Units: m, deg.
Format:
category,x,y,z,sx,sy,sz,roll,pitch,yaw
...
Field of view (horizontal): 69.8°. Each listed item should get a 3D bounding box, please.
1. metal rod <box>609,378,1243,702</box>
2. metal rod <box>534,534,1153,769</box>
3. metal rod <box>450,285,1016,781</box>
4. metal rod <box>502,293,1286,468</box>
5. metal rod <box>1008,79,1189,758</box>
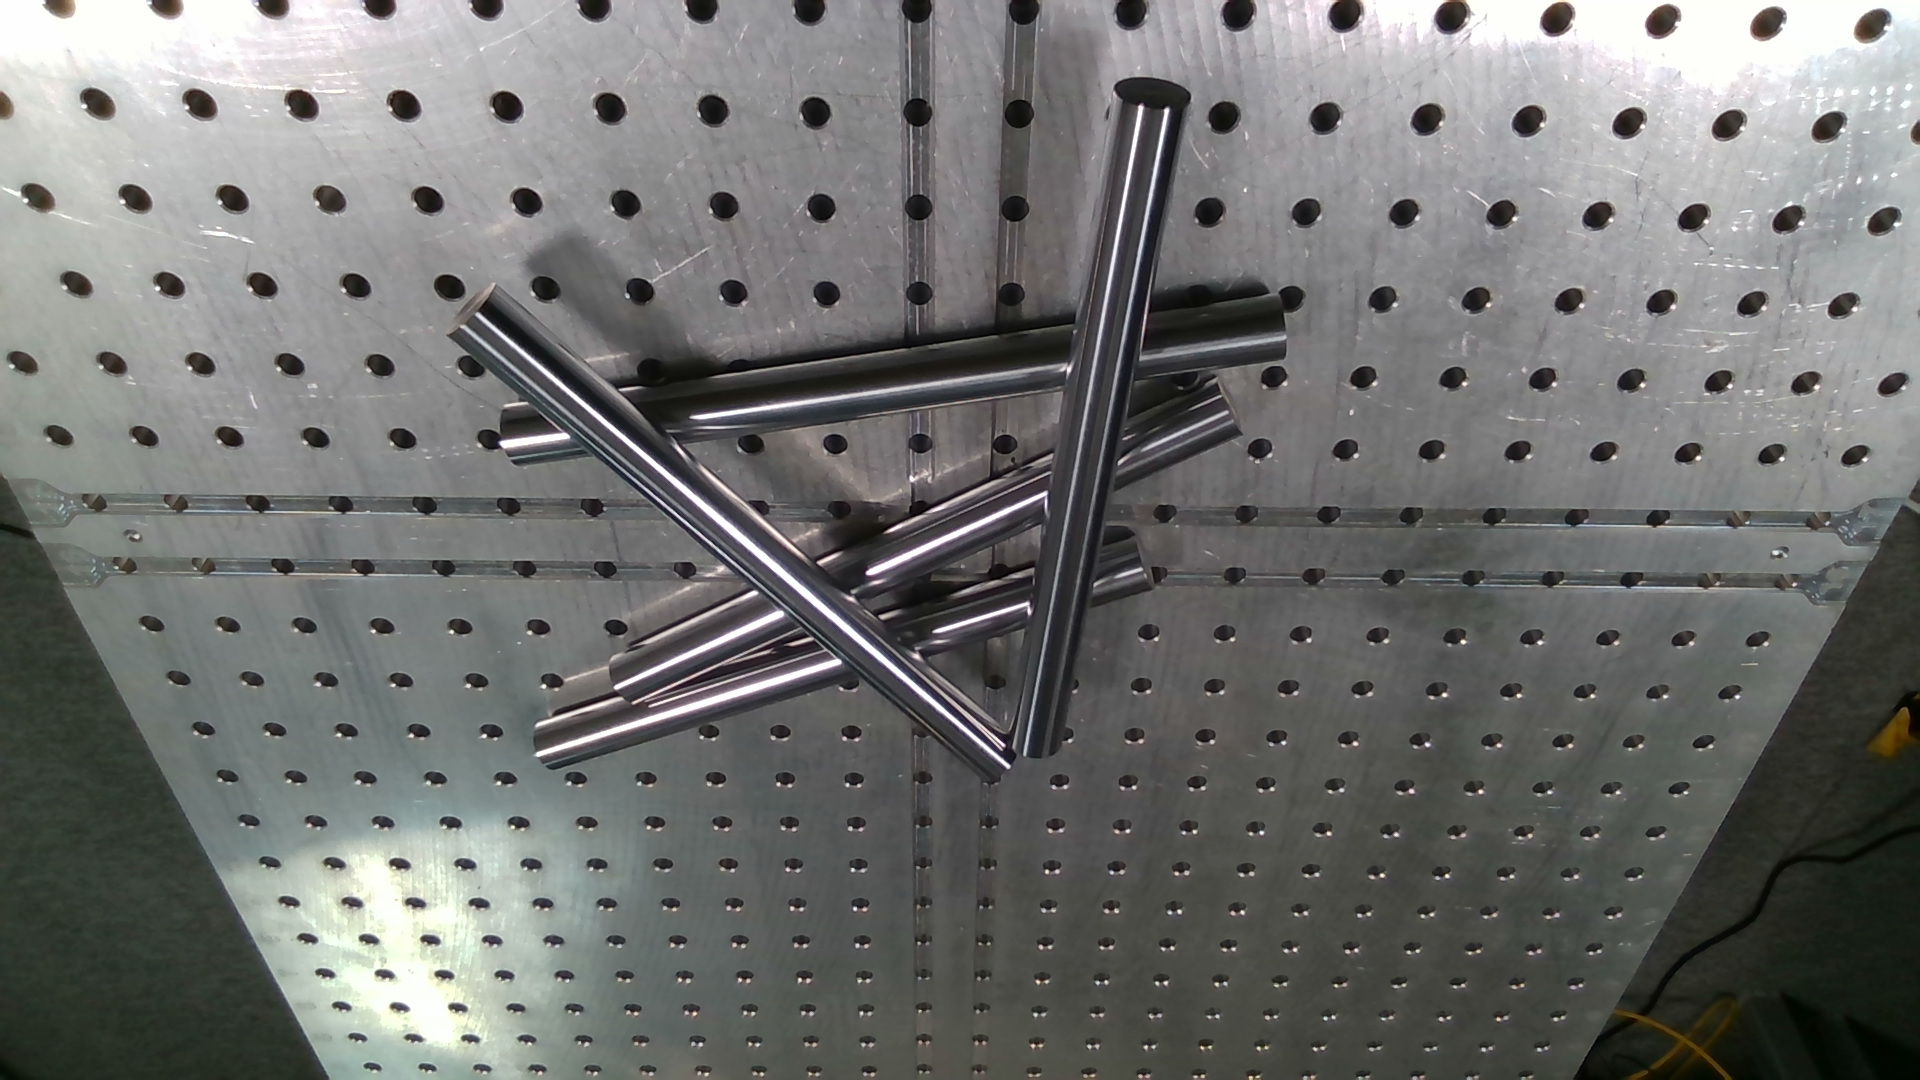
category,x,y,z,sx,sy,sz,roll,pitch,yaw
metal rod,-0.024,0.006,0.586,0.300,0.025,0.025,-24,126,19
metal rod,-0.059,0.054,0.627,0.300,0.025,0.025,-18,128,14
metal rod,-0.077,0.010,0.557,0.025,0.025,0.301,-31,123,24
metal rod,-0.028,-0.060,0.531,0.300,0.025,0.025,-8,130,6
metal rod,0.047,-0.025,0.529,0.025,0.025,0.301,4,130,-3
